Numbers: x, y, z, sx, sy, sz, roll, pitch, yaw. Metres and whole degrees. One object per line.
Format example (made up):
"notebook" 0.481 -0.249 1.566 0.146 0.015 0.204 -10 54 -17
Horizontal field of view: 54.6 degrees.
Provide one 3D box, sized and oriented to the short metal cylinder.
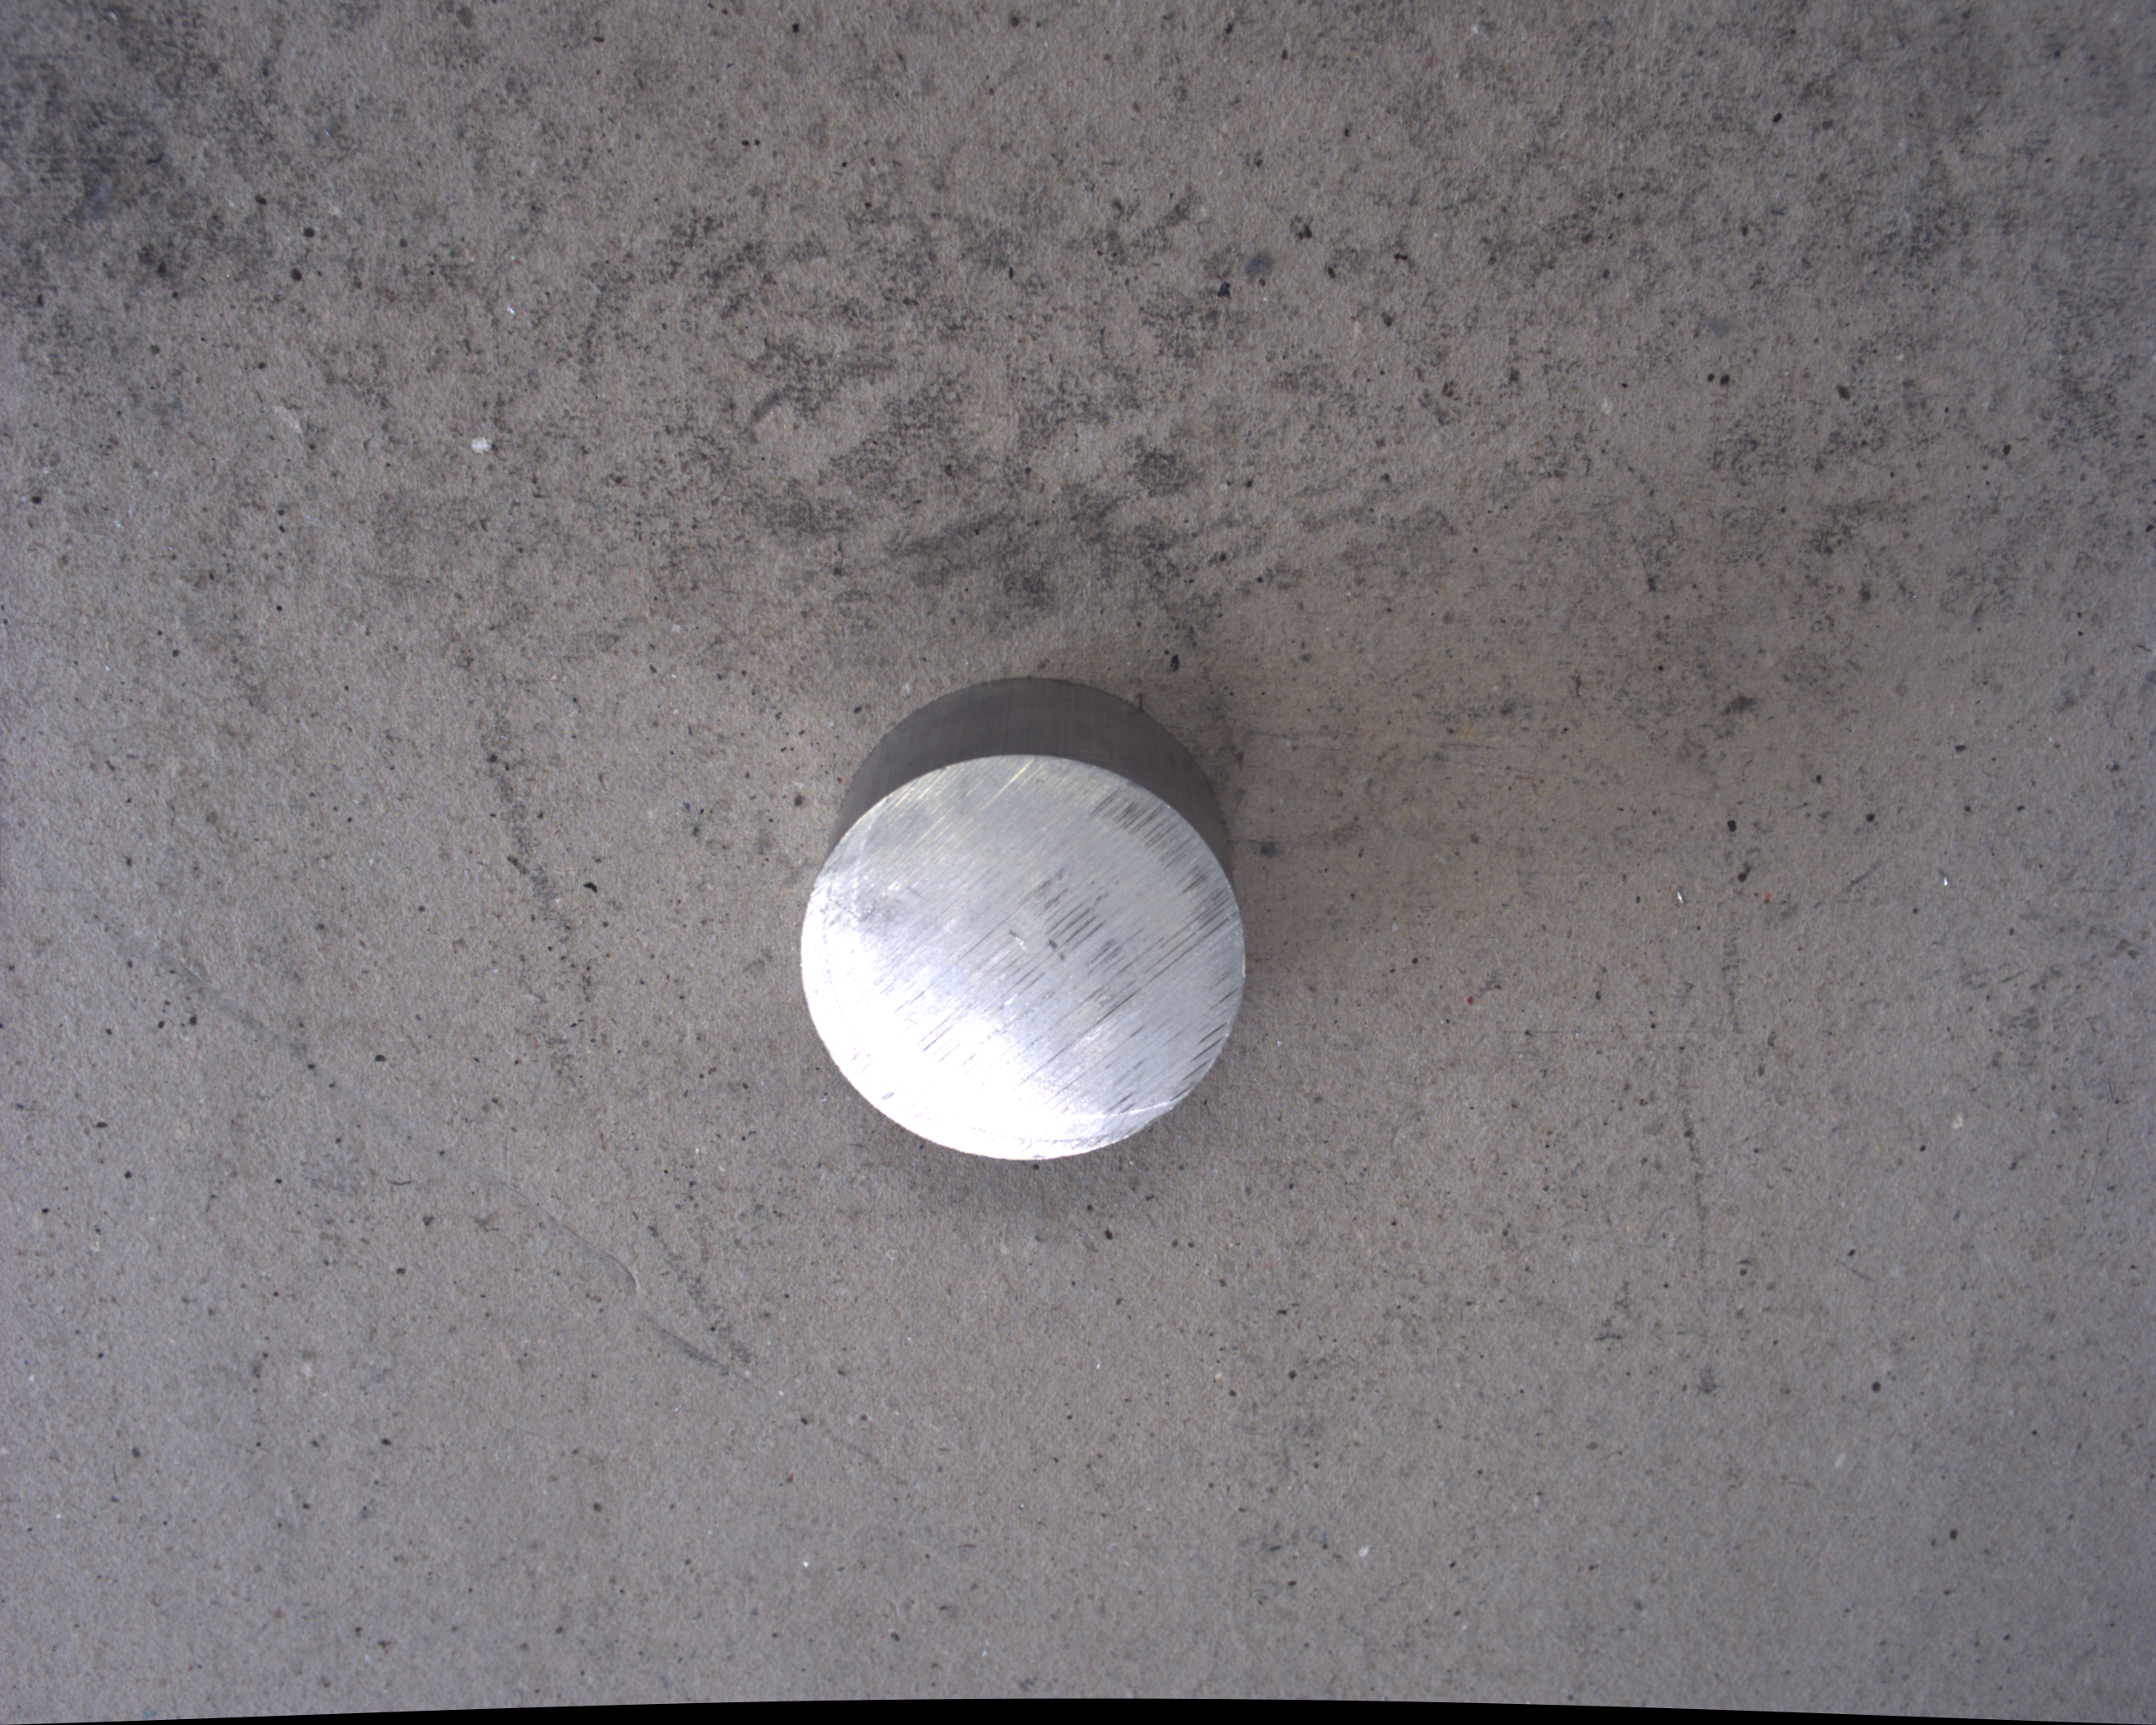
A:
"short metal cylinder" -0.010 0.010 0.401 0.080 0.050 0.079 -1 110 -1
